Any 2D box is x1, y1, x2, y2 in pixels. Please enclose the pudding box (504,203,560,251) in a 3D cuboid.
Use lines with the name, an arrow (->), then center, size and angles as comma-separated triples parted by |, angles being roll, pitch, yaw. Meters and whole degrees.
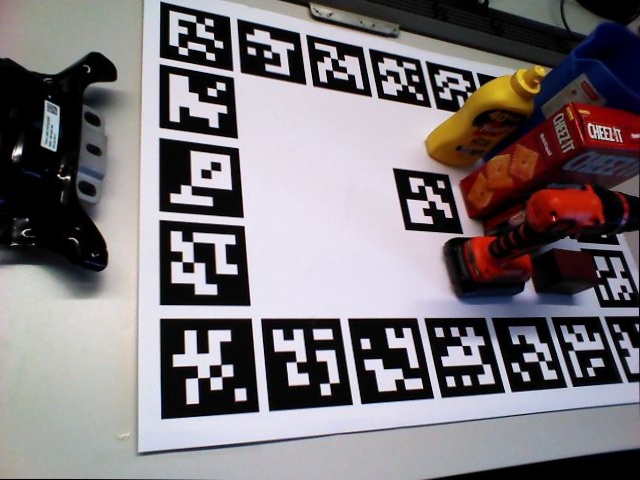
pudding box -> 0.339, -0.015, 0.742 | 0.113, 0.090, 0.038 | 3, 65, -20

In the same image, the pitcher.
pitcher -> 0.396, -0.174, 0.768 | 0.188, 0.244, 0.132 | 9, 65, -18

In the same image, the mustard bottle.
mustard bottle -> 0.269, -0.176, 0.726 | 0.096, 0.193, 0.058 | 16, 63, -17

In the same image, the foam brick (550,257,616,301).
foam brick -> 0.386, 0.059, 0.768 | 0.078, 0.052, 0.052 | 6, 67, -22

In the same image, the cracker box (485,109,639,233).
cracker box -> 0.361, -0.080, 0.717 | 0.164, 0.215, 0.071 | 0, 66, -21

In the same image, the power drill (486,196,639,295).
power drill -> 0.314, 0.012, 0.637 | 0.184, 0.188, 0.057 | 2, 64, -24
